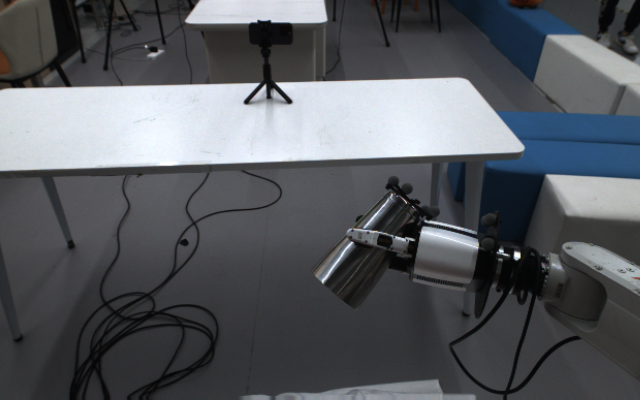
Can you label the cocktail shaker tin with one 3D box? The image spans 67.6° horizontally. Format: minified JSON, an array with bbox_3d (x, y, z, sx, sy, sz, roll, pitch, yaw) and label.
[{"bbox_3d":[0.076,0.068,0.736,0.170,0.093,0.093,-49,49,-3],"label":"cocktail shaker tin"}]
